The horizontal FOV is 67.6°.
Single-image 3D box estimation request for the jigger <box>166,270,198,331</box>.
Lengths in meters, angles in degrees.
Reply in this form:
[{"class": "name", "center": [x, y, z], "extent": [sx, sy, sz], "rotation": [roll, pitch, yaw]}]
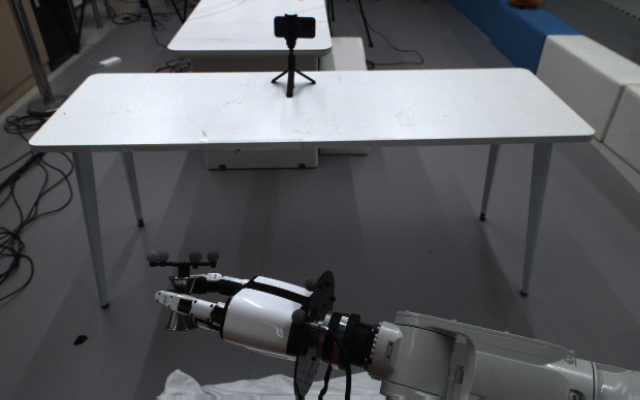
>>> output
[{"class": "jigger", "center": [-0.183, 0.137, 0.645], "extent": [0.043, 0.071, 0.043], "rotation": [0, -5, 0]}]
